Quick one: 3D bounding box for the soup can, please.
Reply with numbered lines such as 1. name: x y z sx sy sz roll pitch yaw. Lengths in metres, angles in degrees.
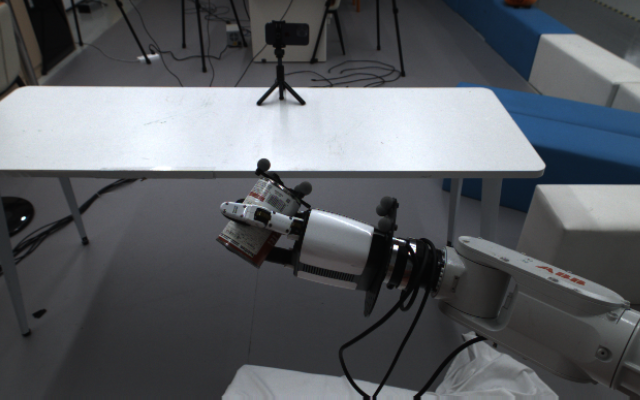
1. soup can: -0.078 0.030 0.635 0.067 0.067 0.101 26 76 31
